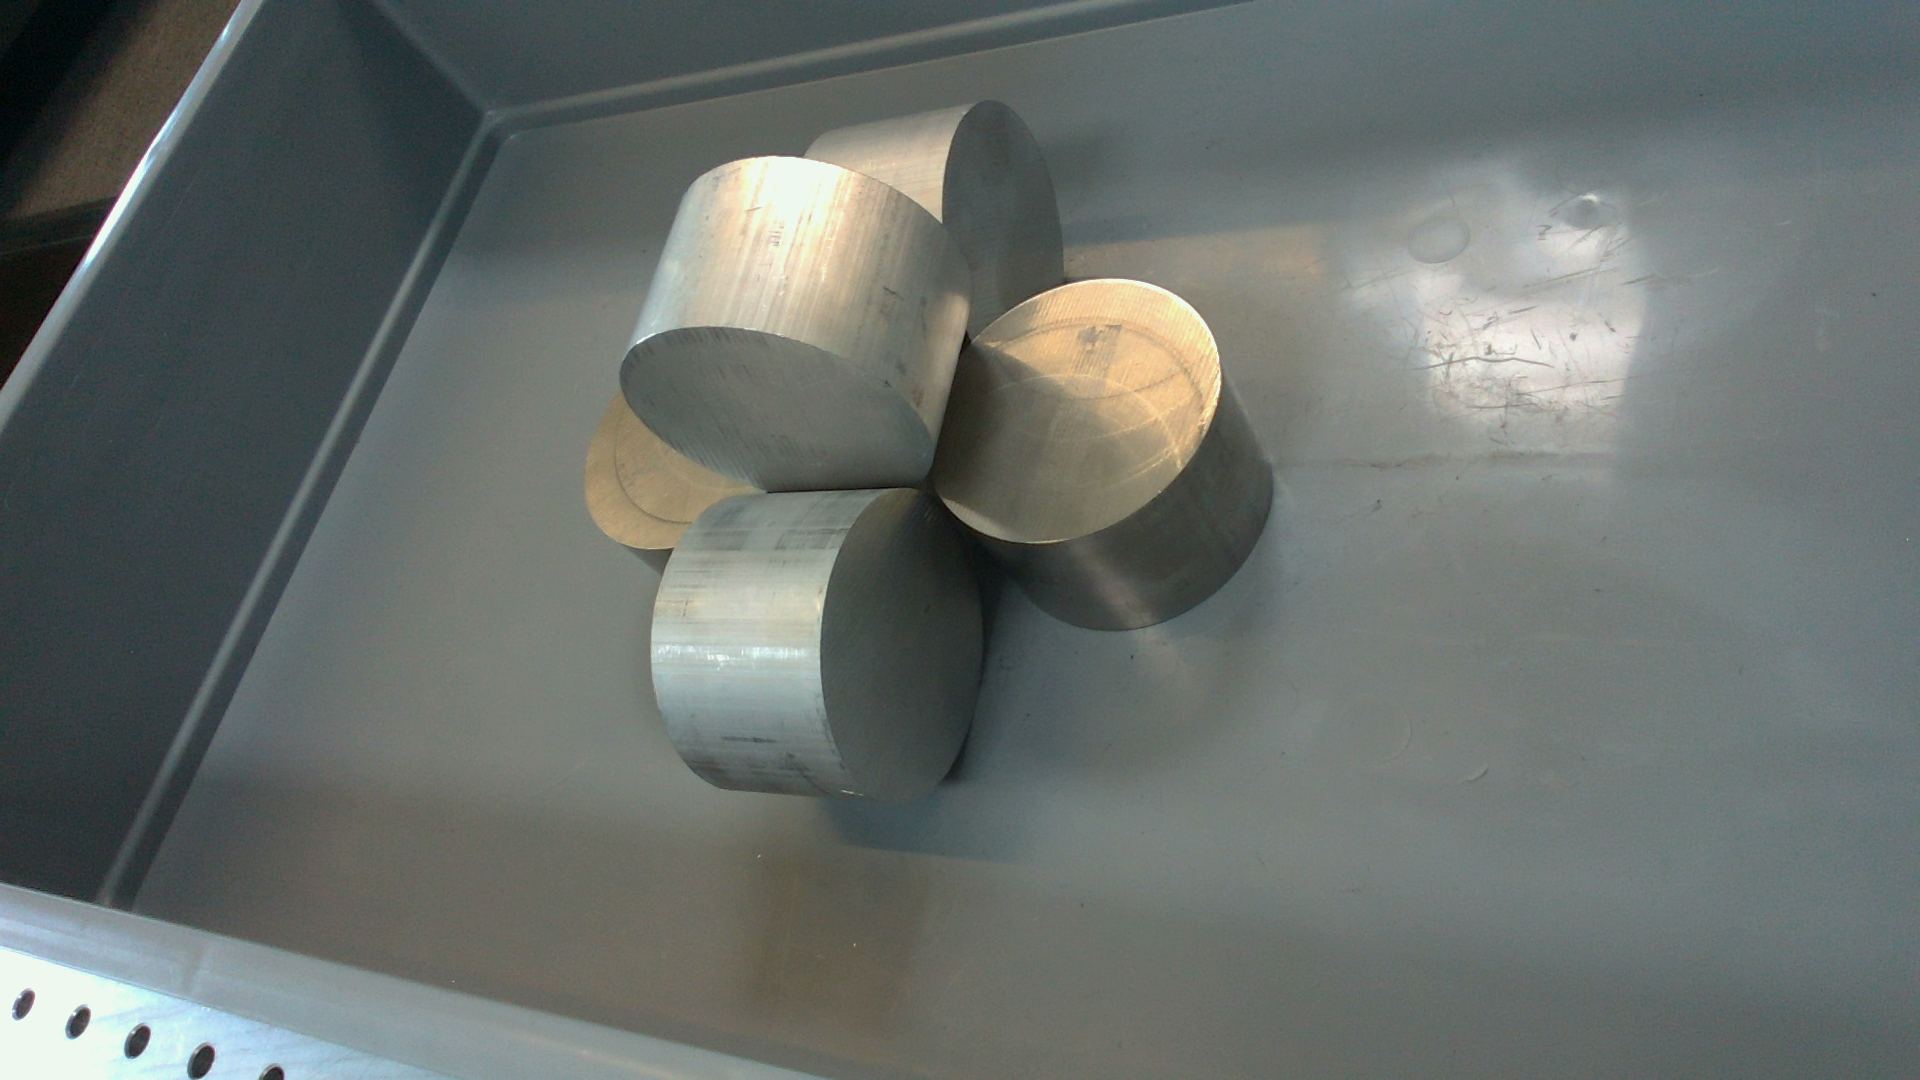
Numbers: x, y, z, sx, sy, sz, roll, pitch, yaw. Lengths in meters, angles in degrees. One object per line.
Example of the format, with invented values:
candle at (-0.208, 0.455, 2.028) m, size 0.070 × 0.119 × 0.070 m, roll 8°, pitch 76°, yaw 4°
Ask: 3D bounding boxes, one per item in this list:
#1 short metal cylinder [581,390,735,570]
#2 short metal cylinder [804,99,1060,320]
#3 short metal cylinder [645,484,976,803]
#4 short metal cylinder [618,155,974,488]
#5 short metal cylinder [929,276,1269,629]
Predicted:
short metal cylinder at (-0.069, -0.021, 0.426) m, size 0.080 × 0.050 × 0.080 m, roll -13°, pitch 56°, yaw 21°
short metal cylinder at (-0.009, -0.087, 0.415) m, size 0.050 × 0.080 × 0.080 m, roll -2°, pitch 61°, yaw 27°
short metal cylinder at (-0.036, 0.027, 0.359) m, size 0.050 × 0.080 × 0.080 m, roll -2°, pitch 61°, yaw 27°
short metal cylinder at (-0.040, -0.051, 0.353) m, size 0.080 × 0.080 × 0.050 m, roll -1°, pitch 61°, yaw 28°
short metal cylinder at (0.037, -0.023, 0.369) m, size 0.080 × 0.050 × 0.080 m, roll -13°, pitch 56°, yaw 21°
